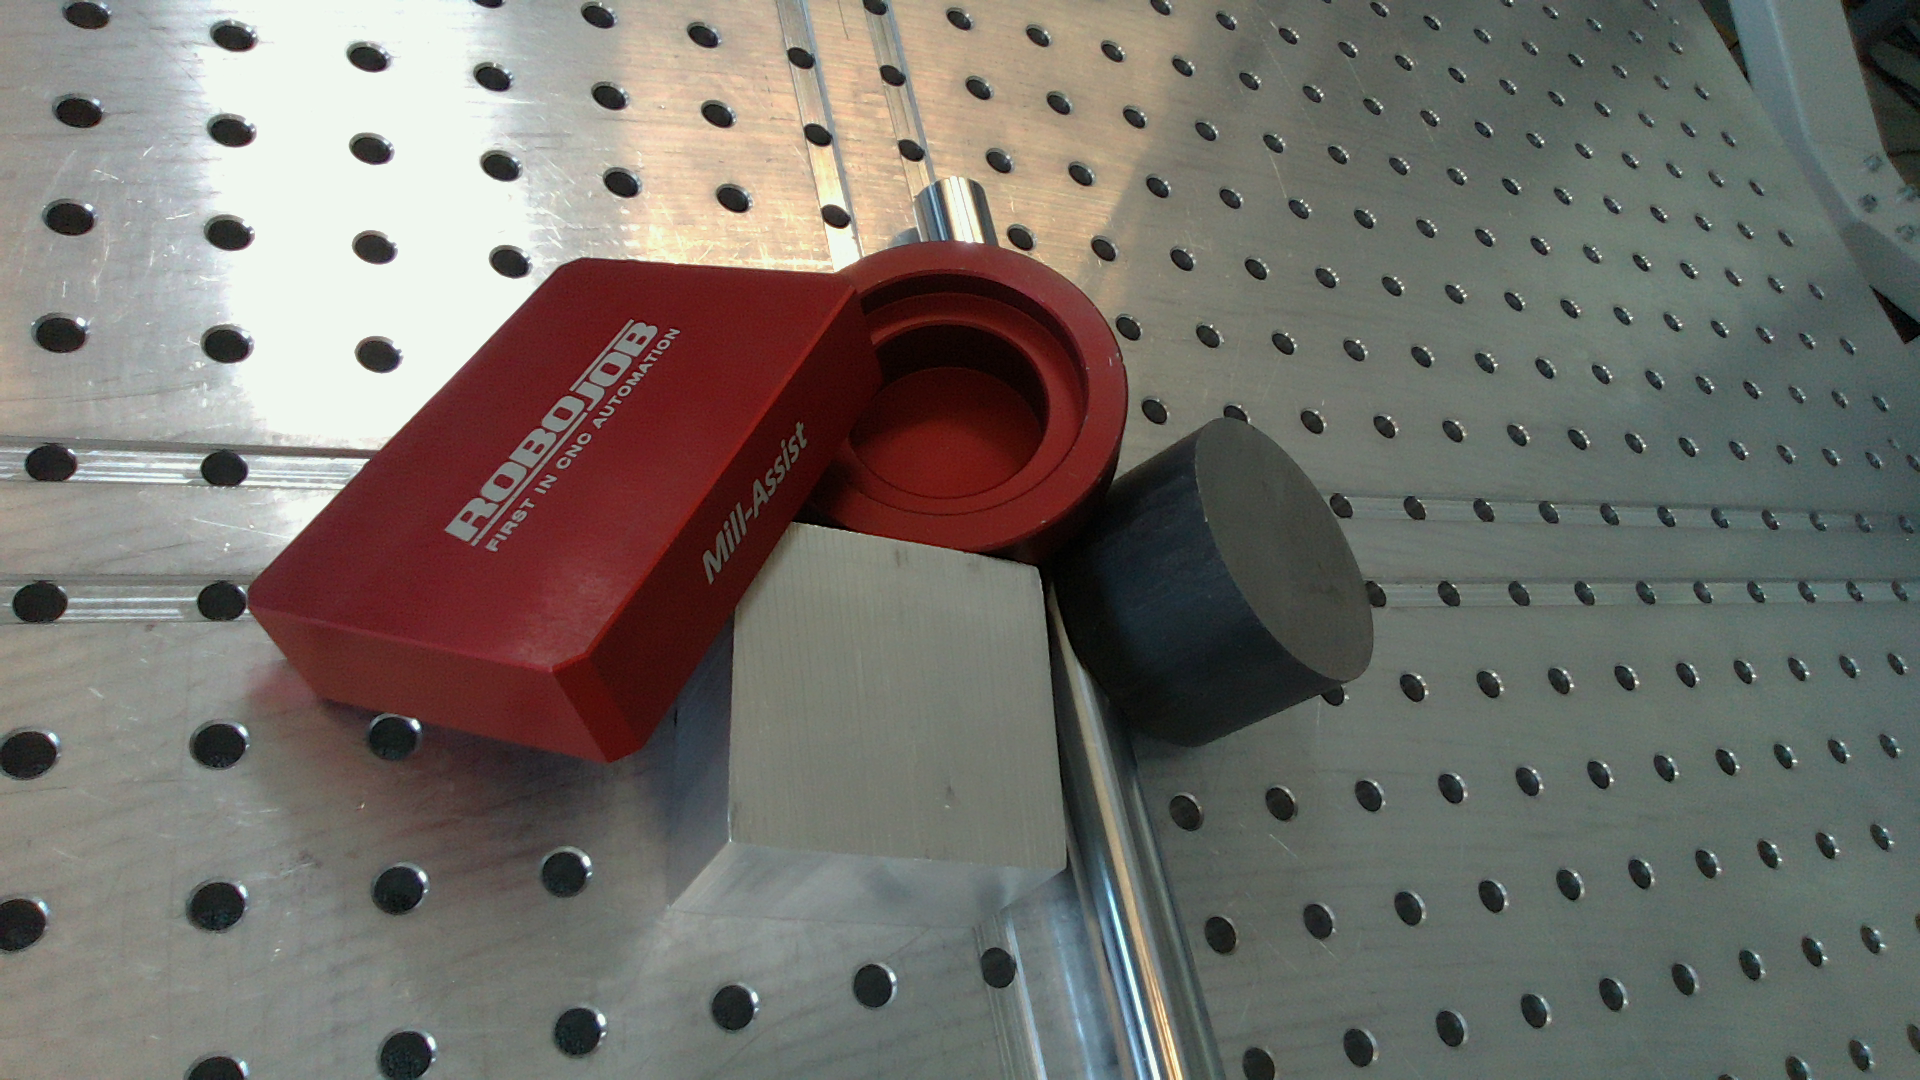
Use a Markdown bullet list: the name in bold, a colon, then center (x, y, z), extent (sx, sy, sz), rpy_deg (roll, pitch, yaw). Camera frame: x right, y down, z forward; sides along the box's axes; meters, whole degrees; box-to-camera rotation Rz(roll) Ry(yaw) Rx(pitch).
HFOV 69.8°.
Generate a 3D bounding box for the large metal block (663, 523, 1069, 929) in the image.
- **large metal block**: center (-0.024, 0.046, 0.335), extent (0.080, 0.050, 0.080), rpy_deg (10, 57, -23)

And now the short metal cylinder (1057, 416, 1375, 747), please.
- **short metal cylinder**: center (0.073, 0.012, 0.392), extent (0.080, 0.050, 0.080), rpy_deg (31, 43, -33)

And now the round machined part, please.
- **round machined part**: center (-0.004, -0.032, 0.383), extent (0.098, 0.042, 0.098), rpy_deg (0, 64, 0)

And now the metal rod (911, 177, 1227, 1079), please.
- **metal rod**: center (0.027, 0.019, 0.396), extent (0.025, 0.025, 0.300), rpy_deg (1, 61, -28)

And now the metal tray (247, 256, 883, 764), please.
- **metal tray**: center (-0.085, -0.015, 0.321), extent (0.090, 0.030, 0.130), rpy_deg (8, 47, 23)
